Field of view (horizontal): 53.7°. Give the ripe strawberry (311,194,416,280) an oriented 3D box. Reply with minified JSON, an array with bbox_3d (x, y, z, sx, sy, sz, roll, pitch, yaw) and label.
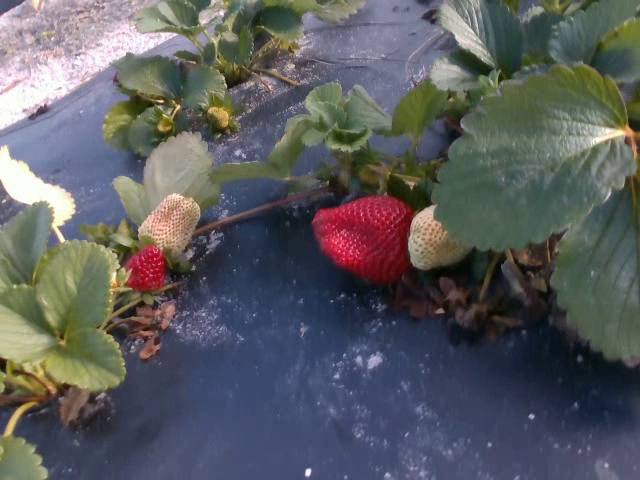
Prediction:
[{"bbox_3d":[0.025,-0.002,0.358,0.070,0.058,0.057,13,-16,-19],"label":"ripe strawberry"}]
